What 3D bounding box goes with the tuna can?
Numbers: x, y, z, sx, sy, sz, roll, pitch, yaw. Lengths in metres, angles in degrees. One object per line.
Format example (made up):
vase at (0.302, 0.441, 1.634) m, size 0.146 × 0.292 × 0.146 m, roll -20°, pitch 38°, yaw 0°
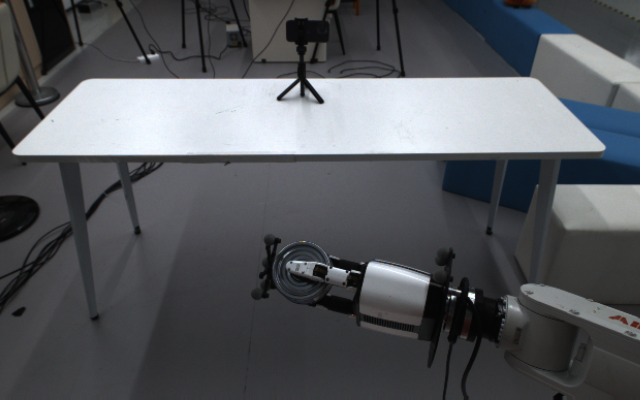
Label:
tuna can at (-0.021, 0.105, 0.677) m, size 0.085 × 0.034 × 0.085 m, roll -2°, pitch 69°, yaw 6°
